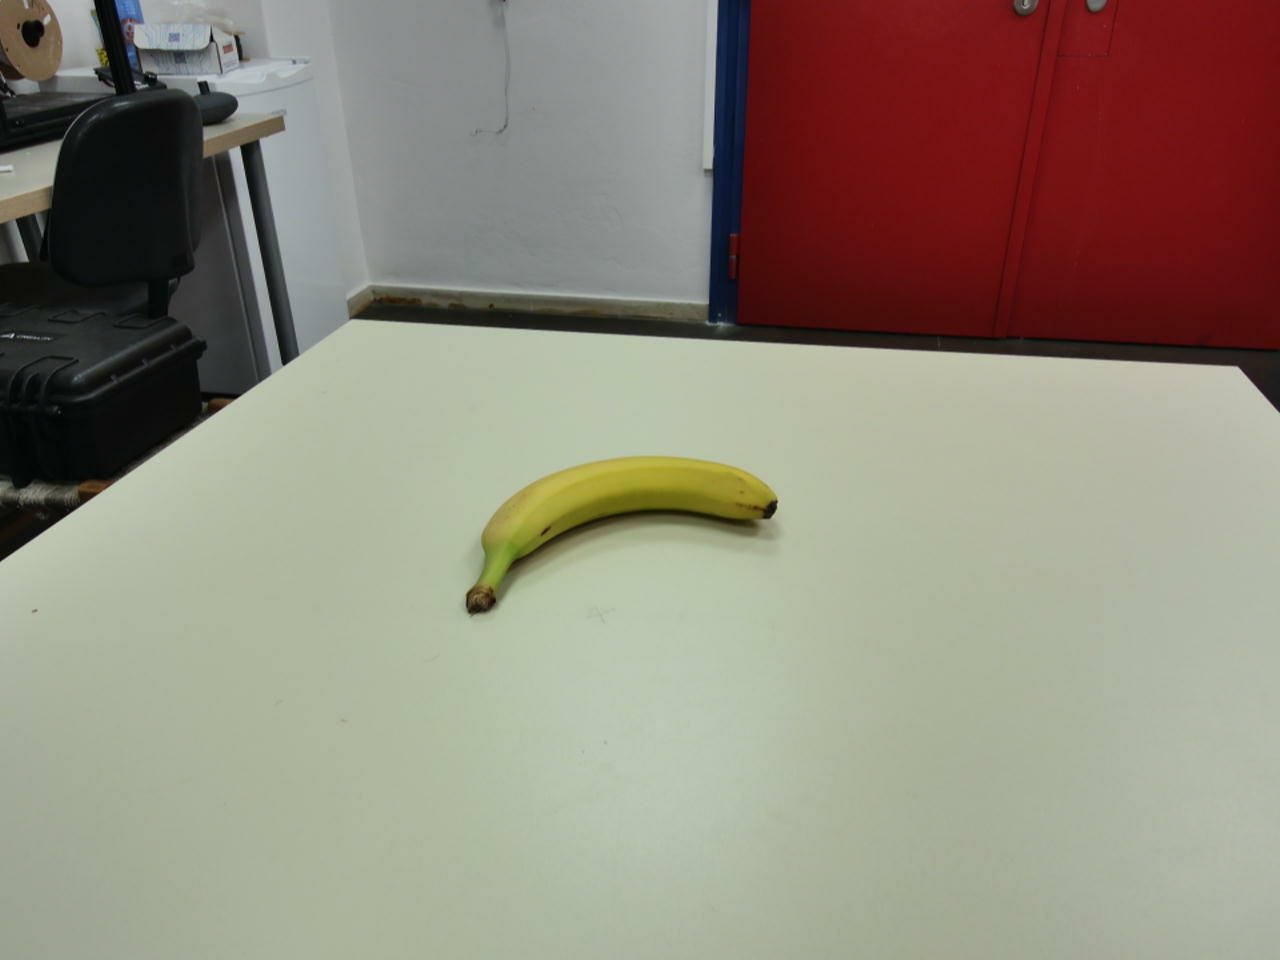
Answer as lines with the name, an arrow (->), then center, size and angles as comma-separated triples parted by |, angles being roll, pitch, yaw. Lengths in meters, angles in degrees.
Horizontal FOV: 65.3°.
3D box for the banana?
banana -> -0.021, 0.019, 0.603 | 0.196, 0.041, 0.094 | -11, 28, -21
